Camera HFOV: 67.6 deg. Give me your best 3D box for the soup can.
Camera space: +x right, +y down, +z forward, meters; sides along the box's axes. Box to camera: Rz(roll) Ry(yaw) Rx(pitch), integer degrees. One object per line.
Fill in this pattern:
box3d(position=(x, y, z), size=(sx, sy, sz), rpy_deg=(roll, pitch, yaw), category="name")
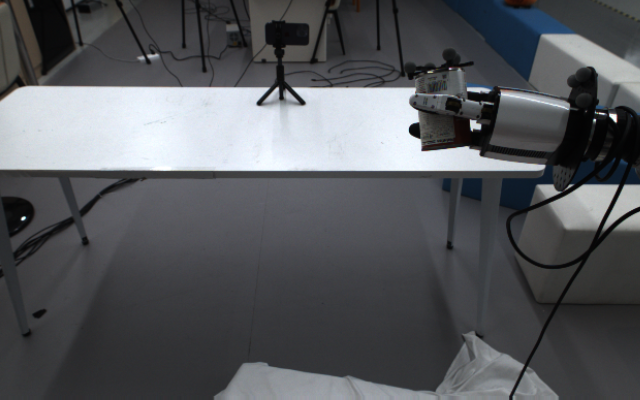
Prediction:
box3d(position=(0.167, -0.122, 0.656), size=(0.067, 0.101, 0.067), rpy_deg=(-7, 3, 0), category="soup can")
